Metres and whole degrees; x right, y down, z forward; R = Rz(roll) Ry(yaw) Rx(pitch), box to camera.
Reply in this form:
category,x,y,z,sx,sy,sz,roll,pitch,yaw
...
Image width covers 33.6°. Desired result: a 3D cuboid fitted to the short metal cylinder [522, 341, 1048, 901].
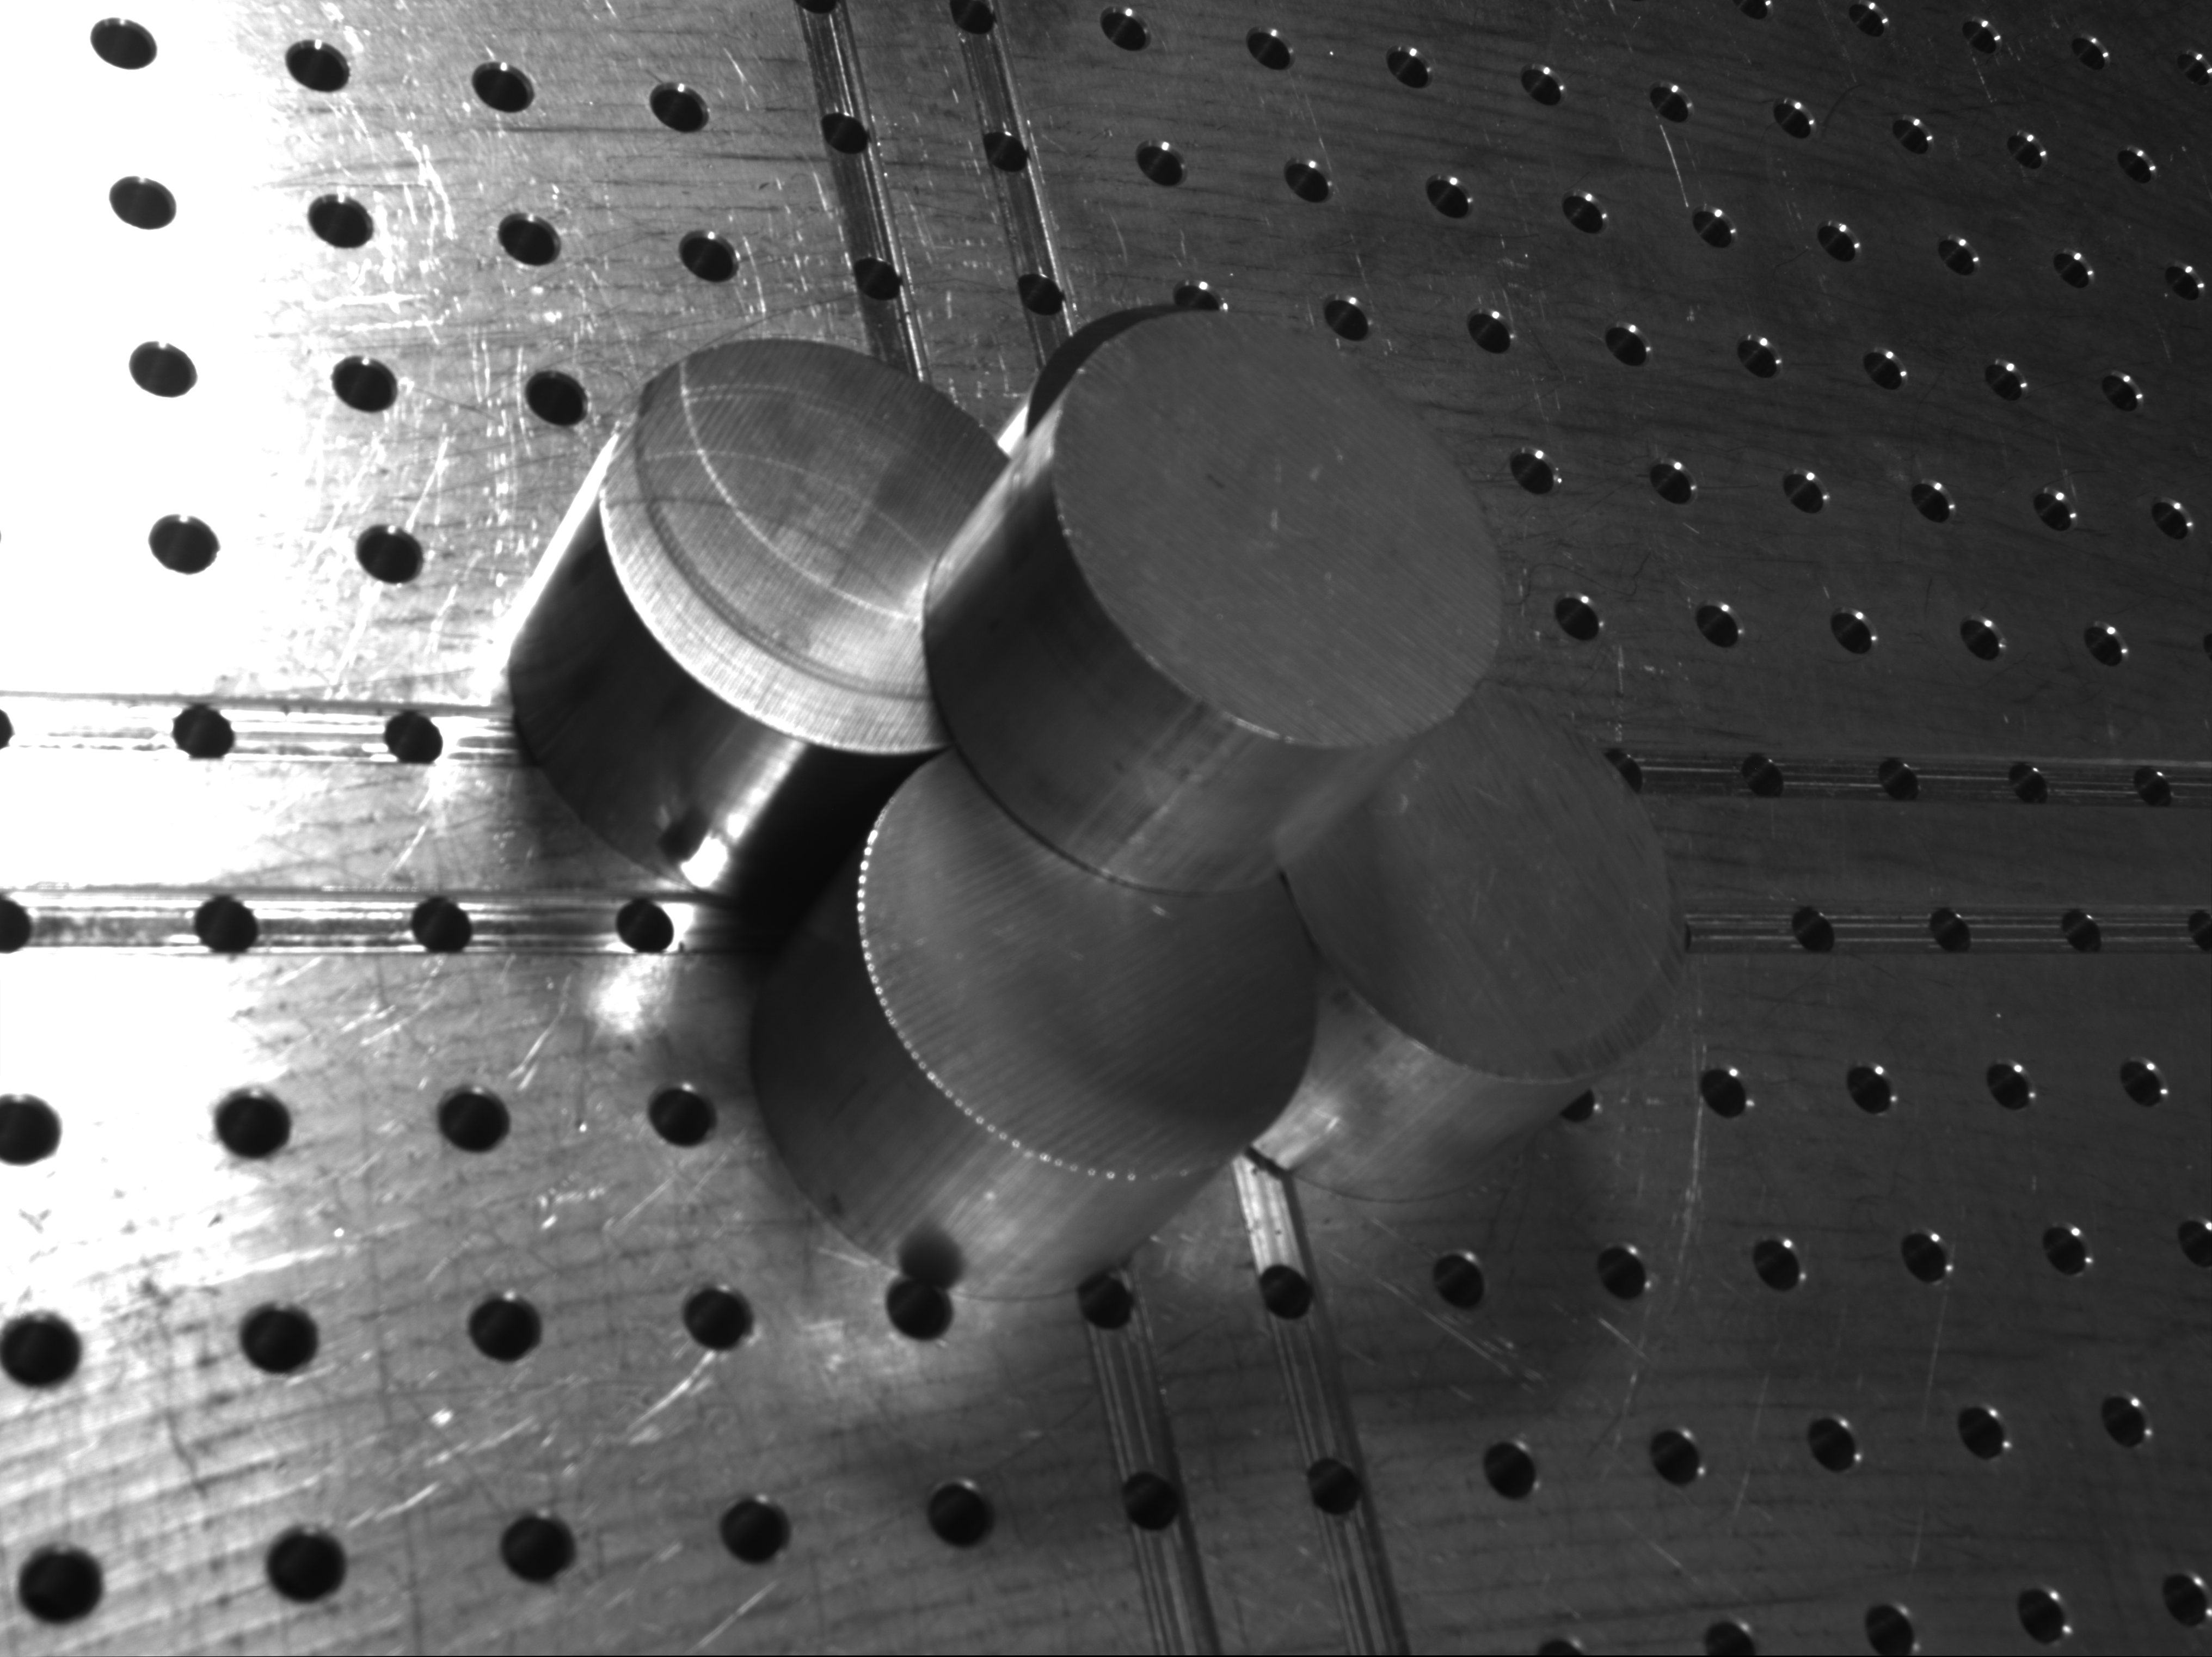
category,x,y,z,sx,sy,sz,roll,pitch,yaw
short metal cylinder,-0.053,-0.035,0.619,0.080,0.050,0.080,14,56,-21

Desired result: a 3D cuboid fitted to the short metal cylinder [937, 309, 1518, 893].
category,x,y,z,sx,sy,sz,roll,pitch,yaw
short metal cylinder,0.019,-0.036,0.593,0.080,0.050,0.080,14,57,-22

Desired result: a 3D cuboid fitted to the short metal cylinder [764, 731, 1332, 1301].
category,x,y,z,sx,sy,sz,roll,pitch,yaw
short metal cylinder,-0.010,0.031,0.602,0.080,0.050,0.080,14,56,-21

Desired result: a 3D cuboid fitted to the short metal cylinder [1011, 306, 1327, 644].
category,x,y,z,sx,sy,sz,roll,pitch,yaw
short metal cylinder,0.015,-0.047,0.663,0.080,0.050,0.080,14,56,-21

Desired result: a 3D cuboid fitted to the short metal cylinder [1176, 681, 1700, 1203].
category,x,y,z,sx,sy,sz,roll,pitch,yaw
short metal cylinder,0.057,0.019,0.645,0.080,0.050,0.080,14,56,-21
